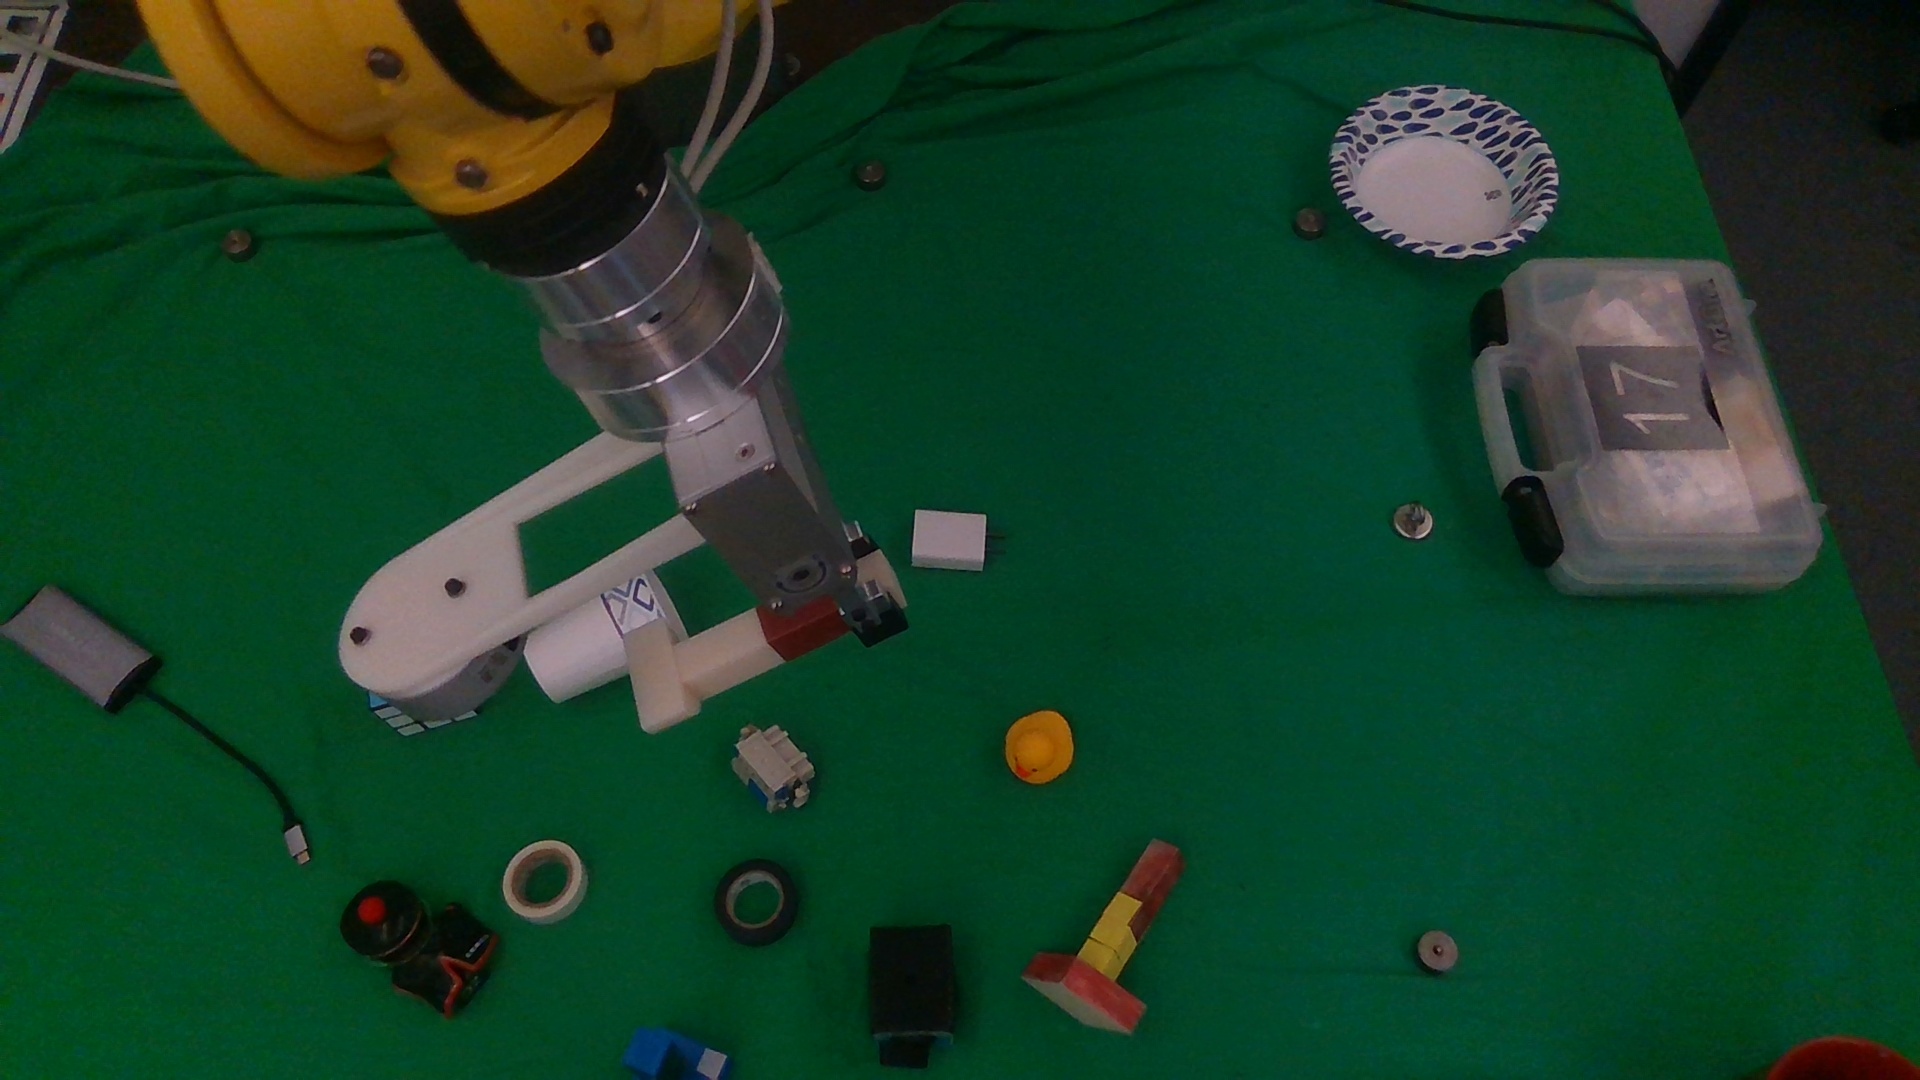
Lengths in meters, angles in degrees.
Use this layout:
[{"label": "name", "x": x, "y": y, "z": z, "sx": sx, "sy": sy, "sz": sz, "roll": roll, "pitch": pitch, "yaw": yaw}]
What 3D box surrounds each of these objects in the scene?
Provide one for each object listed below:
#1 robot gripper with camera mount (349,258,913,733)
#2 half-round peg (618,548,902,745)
[{"label": "robot gripper with camera mount", "x": -0.128, "y": 0.025, "z": 0.537, "sx": 0.193, "sy": 0.158, "sz": 0.119, "roll": -29, "pitch": 52, "yaw": 6}, {"label": "half-round peg", "x": -0.083, "y": 0.041, "z": 0.587, "sx": 0.122, "sy": 0.031, "sz": 0.054, "roll": -25, "pitch": 53, "yaw": 4}]
